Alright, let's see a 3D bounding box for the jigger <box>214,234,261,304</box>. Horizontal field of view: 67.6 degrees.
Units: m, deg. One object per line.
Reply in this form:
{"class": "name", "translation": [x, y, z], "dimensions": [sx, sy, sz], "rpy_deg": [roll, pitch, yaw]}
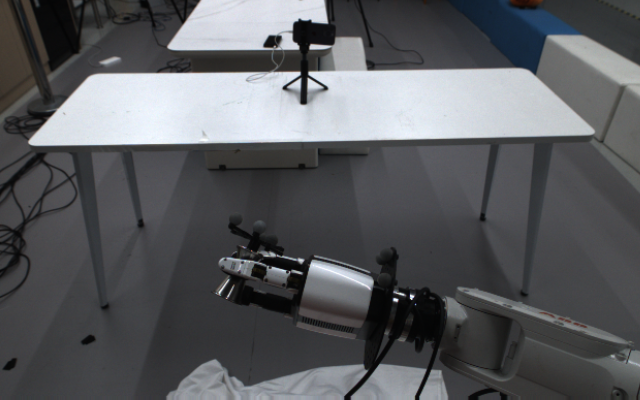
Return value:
{"class": "jigger", "translation": [-0.105, 0.095, 0.622], "dimensions": [0.043, 0.043, 0.071], "rpy_deg": [20, 73, 24]}
